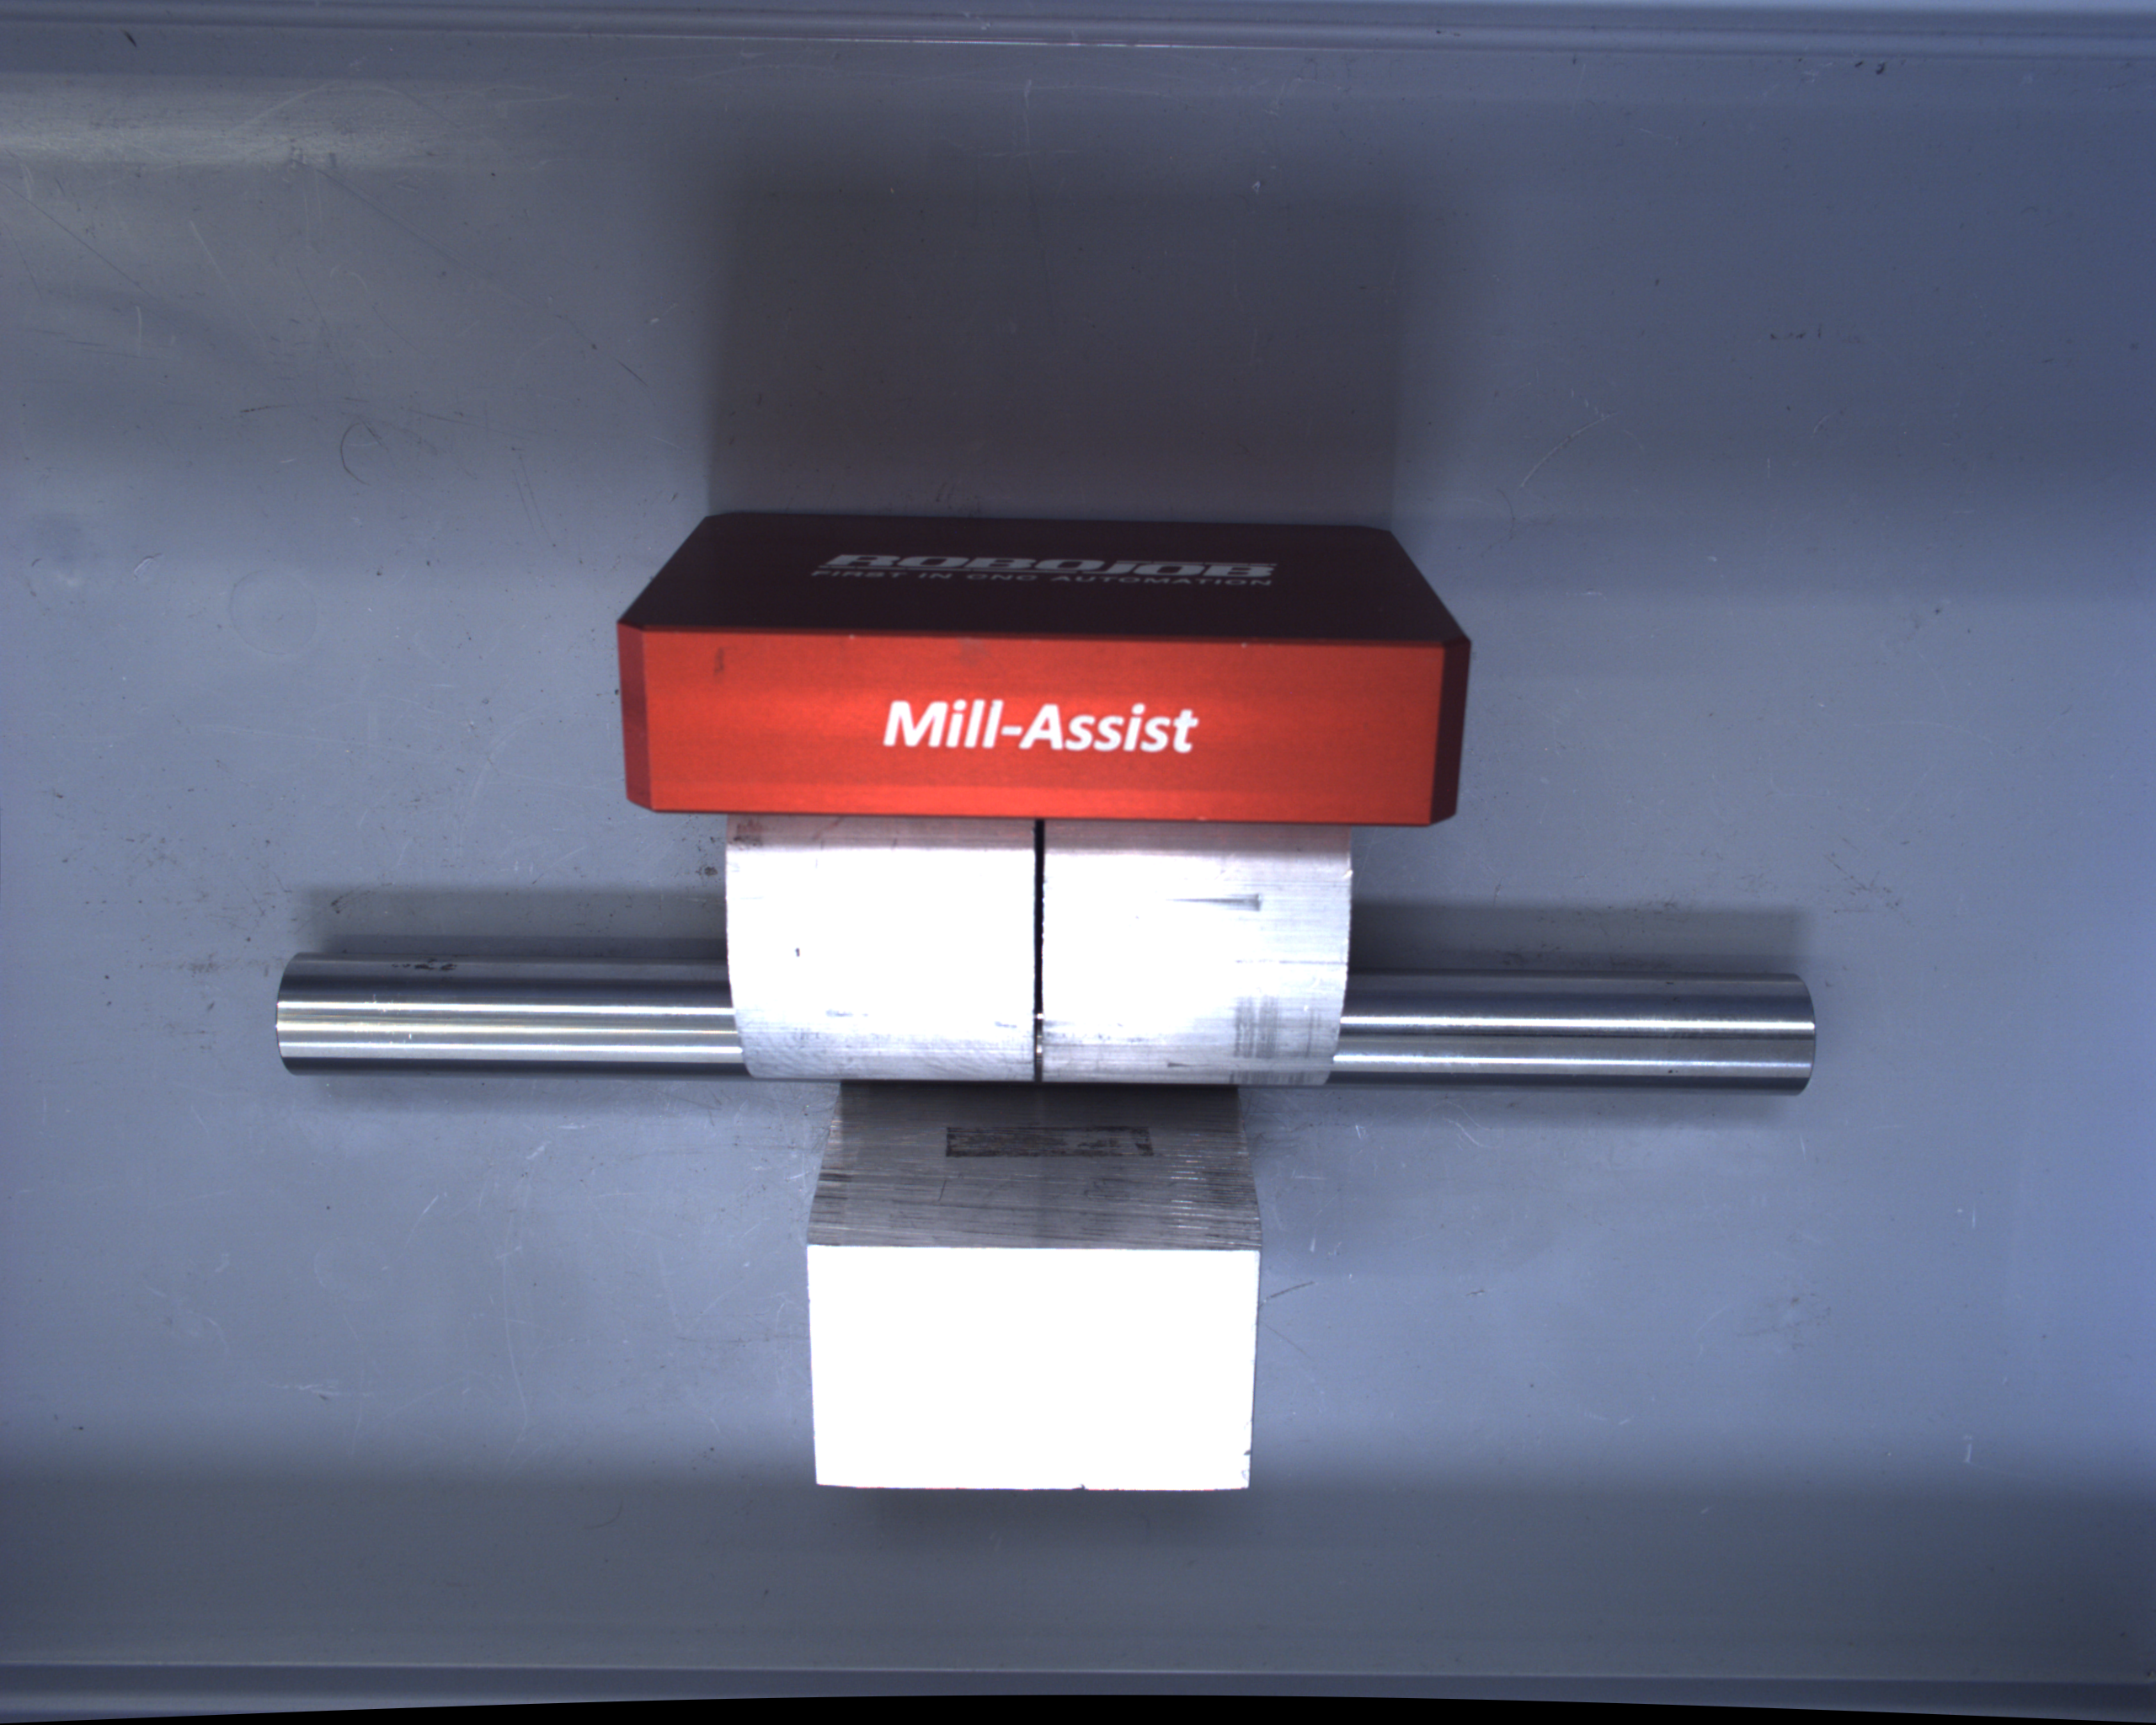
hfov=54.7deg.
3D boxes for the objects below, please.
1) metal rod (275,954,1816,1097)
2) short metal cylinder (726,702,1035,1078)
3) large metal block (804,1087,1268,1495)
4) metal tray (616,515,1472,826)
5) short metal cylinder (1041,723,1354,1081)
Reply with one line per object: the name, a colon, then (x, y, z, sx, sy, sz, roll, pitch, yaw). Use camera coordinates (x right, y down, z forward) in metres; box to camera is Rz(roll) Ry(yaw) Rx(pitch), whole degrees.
metal rod: (-0.006, 0.033, 0.421, 0.302, 0.025, 0.025, 1, 110, -1)
short metal cylinder: (-0.033, -0.001, 0.381, 0.050, 0.080, 0.079, 1, 110, 0)
large metal block: (-0.008, 0.077, 0.408, 0.081, 0.080, 0.050, 1, 110, -1)
metal tray: (-0.005, -0.036, 0.361, 0.131, 0.090, 0.030, 1, 110, -1)
short metal cylinder: (0.020, 0.000, 0.381, 0.050, 0.080, 0.079, 2, 110, -1)
